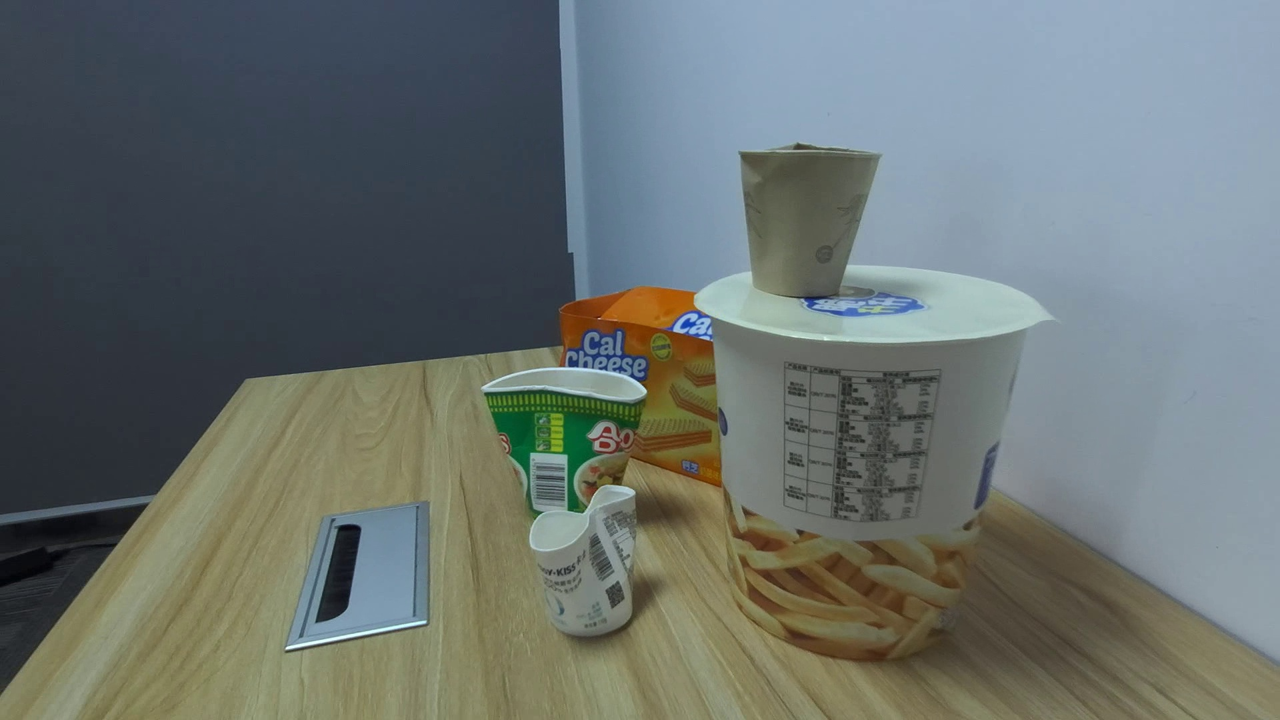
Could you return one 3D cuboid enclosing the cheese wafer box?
[{"bbox_3d":[0.039,0.016,0.682,0.229,0.132,0.153,13,24,35],"label":"cheese wafer box"}]

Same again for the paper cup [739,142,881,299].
[{"bbox_3d":[0.096,-0.082,0.415,0.071,0.084,0.066,20,27,41],"label":"paper cup"}]

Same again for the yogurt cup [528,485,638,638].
[{"bbox_3d":[-0.031,0.123,0.430,0.053,0.071,0.075,2,20,10],"label":"yogurt cup"}]

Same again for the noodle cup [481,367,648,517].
[{"bbox_3d":[-0.052,0.067,0.537,0.114,0.111,0.070,12,26,34],"label":"noodle cup"}]

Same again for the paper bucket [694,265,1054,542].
[{"bbox_3d":[0.127,0.054,0.433,0.198,0.194,0.198,-1,18,1],"label":"paper bucket"}]
